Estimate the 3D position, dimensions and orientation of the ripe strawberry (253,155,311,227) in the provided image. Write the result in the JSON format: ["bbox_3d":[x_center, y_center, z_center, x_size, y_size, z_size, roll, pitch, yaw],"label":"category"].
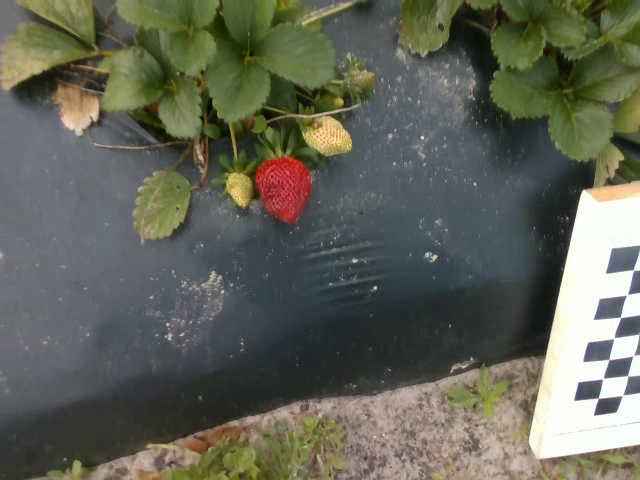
[{"bbox_3d":[-0.025,-0.034,0.432,0.046,0.059,0.046,-10,-36,-1],"label":"ripe strawberry"}]
